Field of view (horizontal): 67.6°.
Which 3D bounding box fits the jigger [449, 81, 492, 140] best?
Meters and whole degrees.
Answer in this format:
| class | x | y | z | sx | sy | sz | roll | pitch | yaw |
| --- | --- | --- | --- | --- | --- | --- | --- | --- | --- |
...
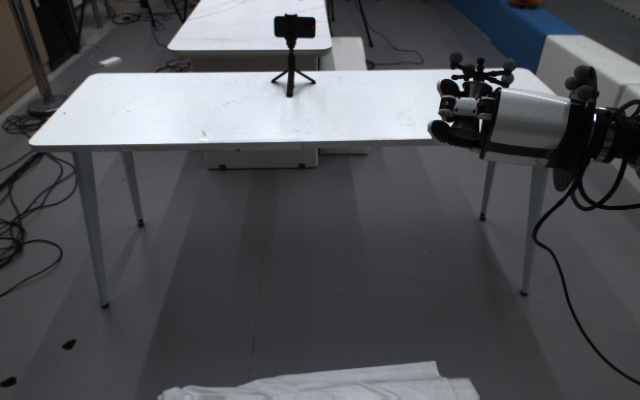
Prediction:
| class | x | y | z | sx | sy | sz | roll | pitch | yaw |
| --- | --- | --- | --- | --- | --- | --- | --- | --- | --- |
| jigger | 0.206 | -0.121 | 0.654 | 0.043 | 0.071 | 0.043 | 16 | -7 | 2 |
